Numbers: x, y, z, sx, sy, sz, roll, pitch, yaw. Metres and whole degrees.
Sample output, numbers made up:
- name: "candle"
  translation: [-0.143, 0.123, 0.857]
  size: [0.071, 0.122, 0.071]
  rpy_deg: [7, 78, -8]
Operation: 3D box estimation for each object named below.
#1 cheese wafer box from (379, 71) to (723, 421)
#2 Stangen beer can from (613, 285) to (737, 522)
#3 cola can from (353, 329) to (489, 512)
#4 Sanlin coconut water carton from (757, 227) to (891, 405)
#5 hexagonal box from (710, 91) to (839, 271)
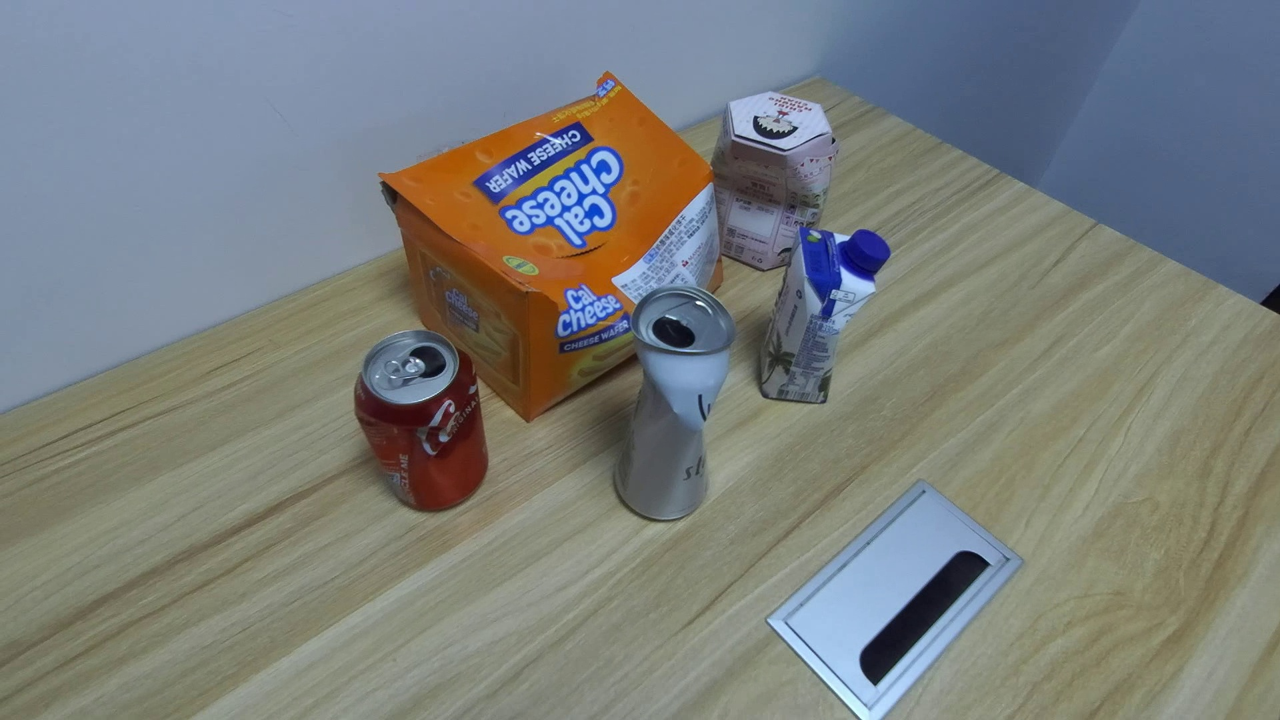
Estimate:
- name: "cheese wafer box"
  translation: [-0.042, -0.088, 0.541]
  size: [0.219, 0.145, 0.190]
  rpy_deg: [-36, 58, -29]
- name: "Stangen beer can"
  translation: [0.020, 0.032, 0.429]
  size: [0.077, 0.162, 0.066]
  rpy_deg: [35, 55, 25]
- name: "cola can"
  translation: [-0.135, 0.040, 0.446]
  size: [0.066, 0.117, 0.066]
  rpy_deg: [6, 48, 3]
- name: "Sanlin coconut water carton"
  translation: [0.126, -0.032, 0.502]
  size: [0.058, 0.142, 0.078]
  rpy_deg: [8, 48, -3]
- name: "hexagonal box"
  translation: [0.111, -0.148, 0.609]
  size: [0.090, 0.135, 0.091]
  rpy_deg: [-16, 52, -13]
